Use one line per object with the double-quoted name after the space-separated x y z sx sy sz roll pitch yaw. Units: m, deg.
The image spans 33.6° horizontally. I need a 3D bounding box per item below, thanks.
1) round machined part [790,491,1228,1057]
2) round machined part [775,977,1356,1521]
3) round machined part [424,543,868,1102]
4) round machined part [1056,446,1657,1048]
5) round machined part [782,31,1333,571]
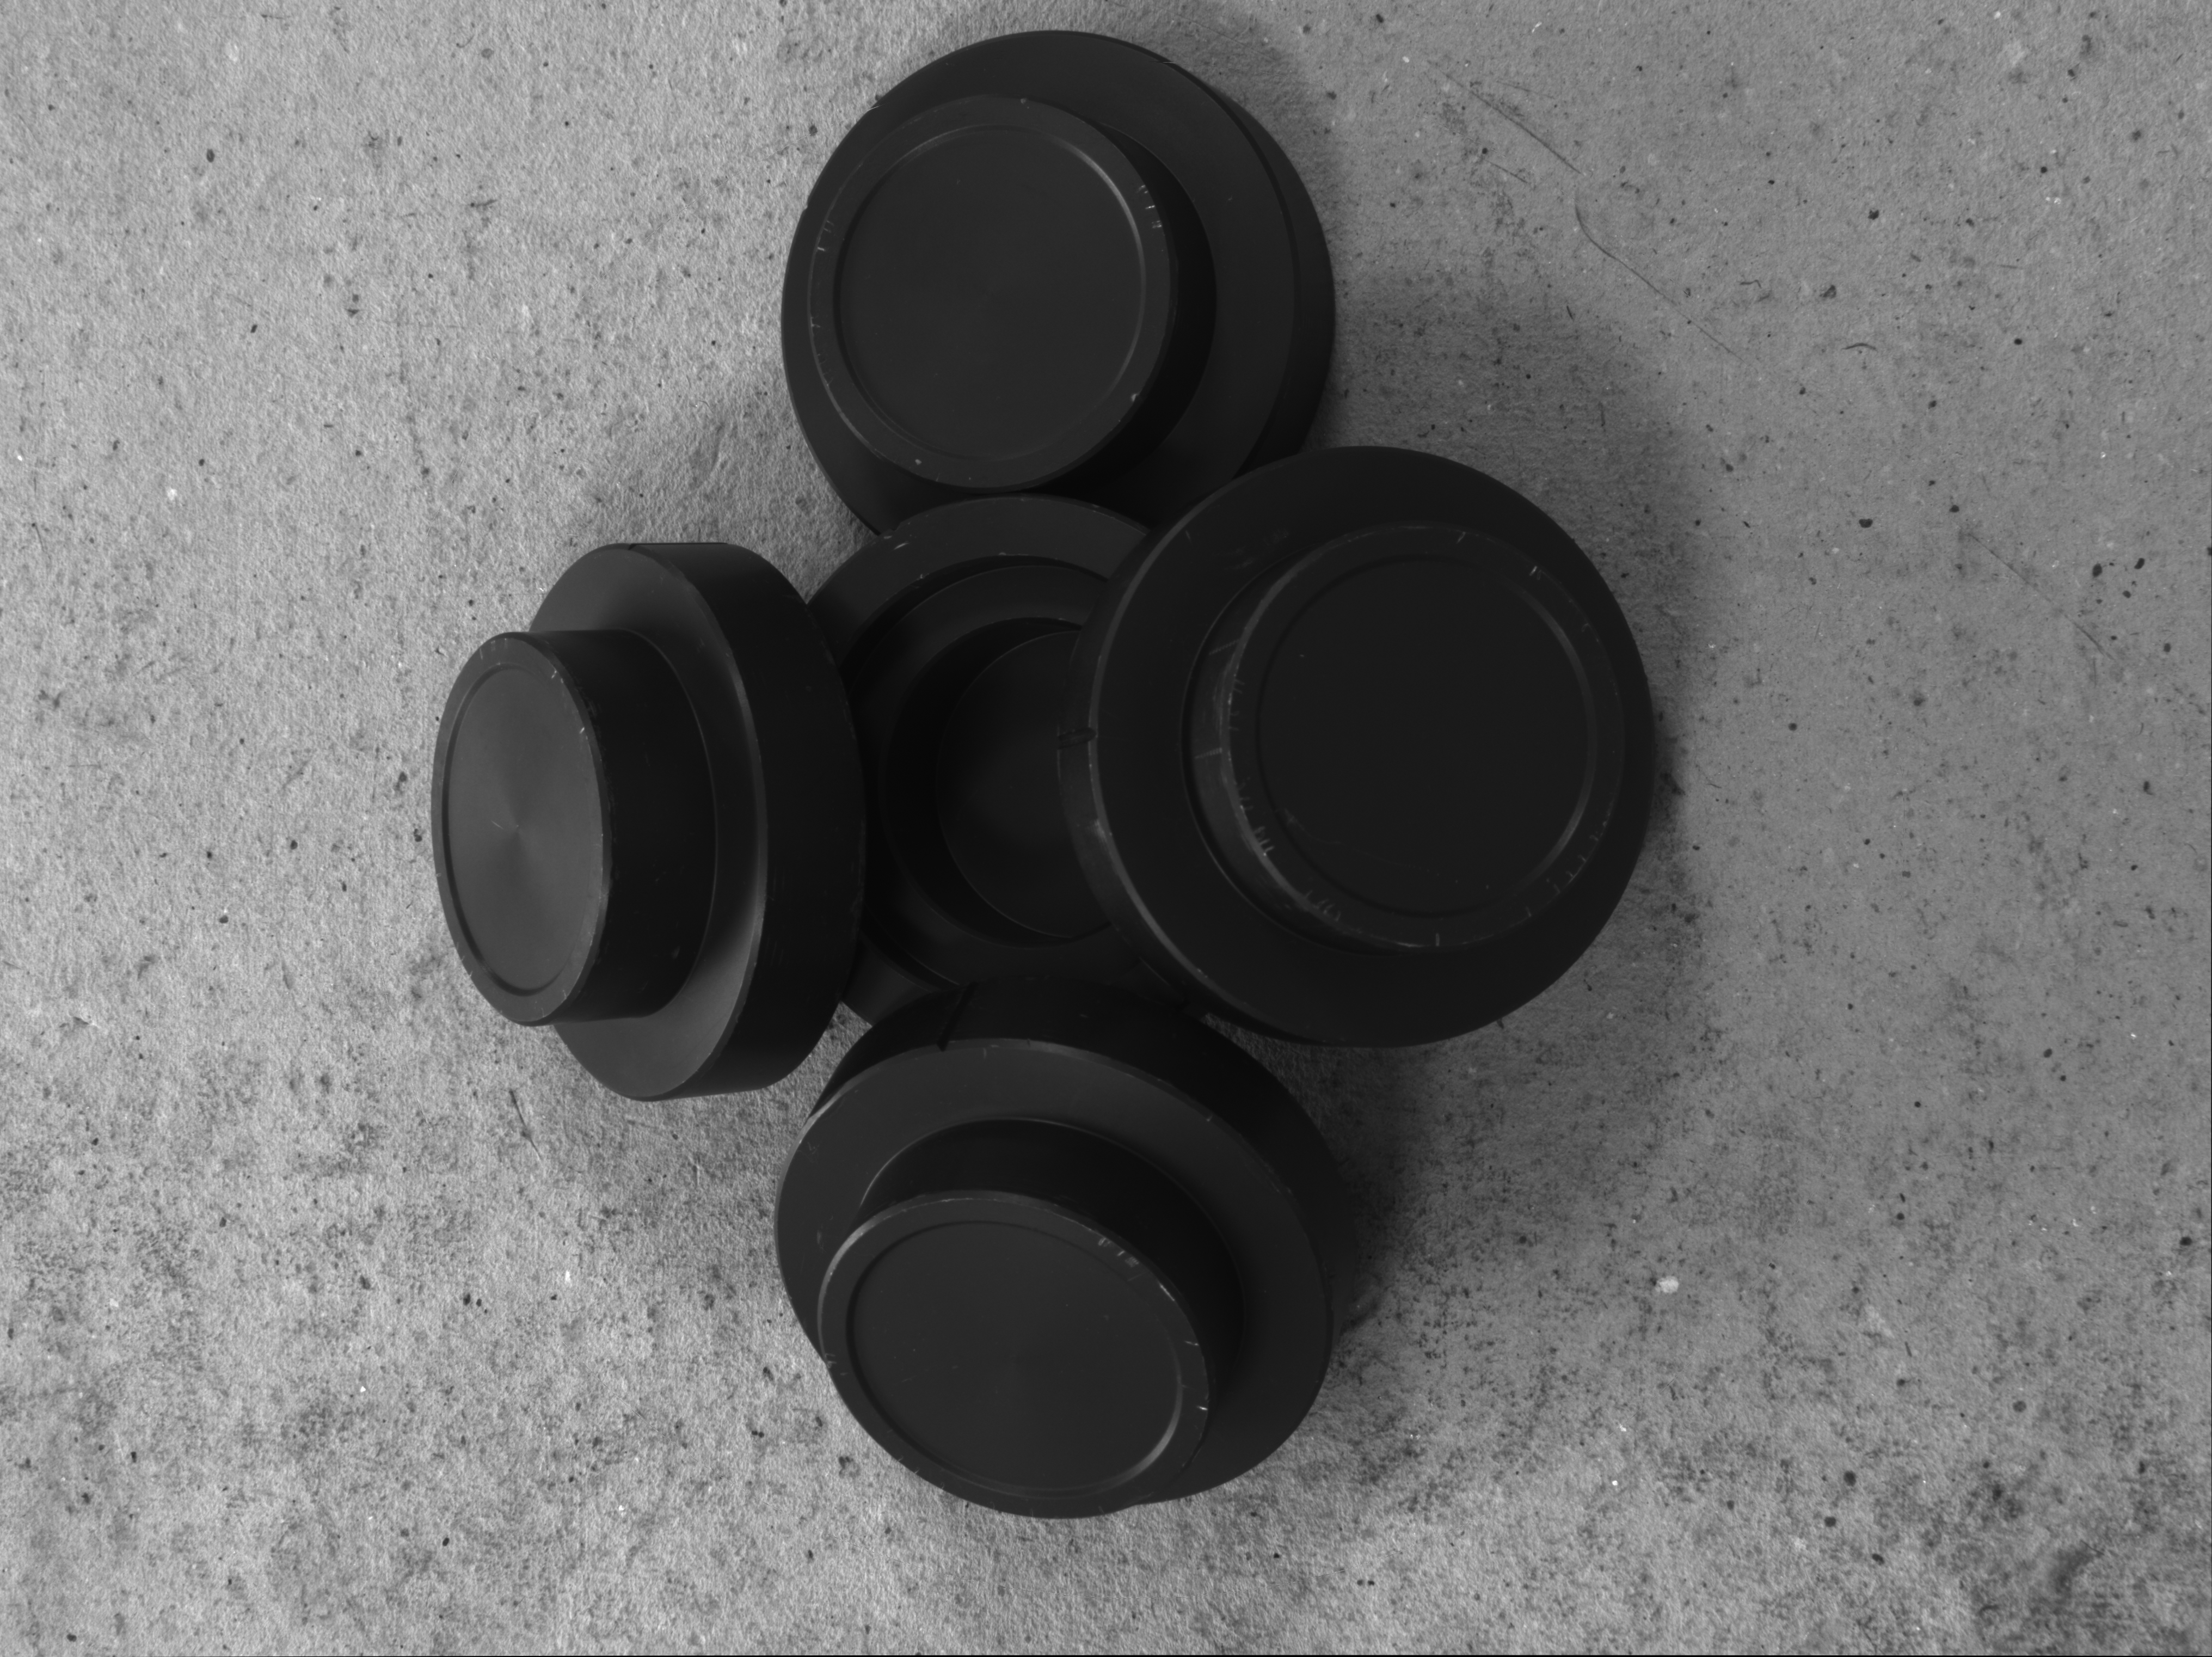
-0.008 -0.008 0.640 0.098 0.042 0.098 0 89 22 "round machined part"
-0.010 0.077 0.618 0.098 0.042 0.098 8 122 13 "round machined part"
-0.086 -0.001 0.643 0.098 0.042 0.098 8 100 53 "round machined part"
0.044 -0.013 0.594 0.098 0.042 0.098 1 86 -16 "round machined part"
-0.013 -0.091 0.642 0.098 0.042 0.098 -1 88 20 "round machined part"
